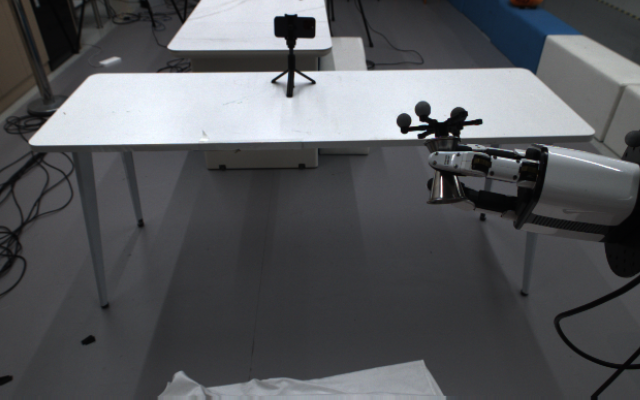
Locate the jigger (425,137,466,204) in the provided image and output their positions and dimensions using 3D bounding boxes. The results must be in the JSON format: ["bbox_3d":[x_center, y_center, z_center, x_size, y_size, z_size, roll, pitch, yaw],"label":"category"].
[{"bbox_3d":[0.136,-0.033,0.530,0.043,0.071,0.043,-2,-7,0],"label":"jigger"}]
